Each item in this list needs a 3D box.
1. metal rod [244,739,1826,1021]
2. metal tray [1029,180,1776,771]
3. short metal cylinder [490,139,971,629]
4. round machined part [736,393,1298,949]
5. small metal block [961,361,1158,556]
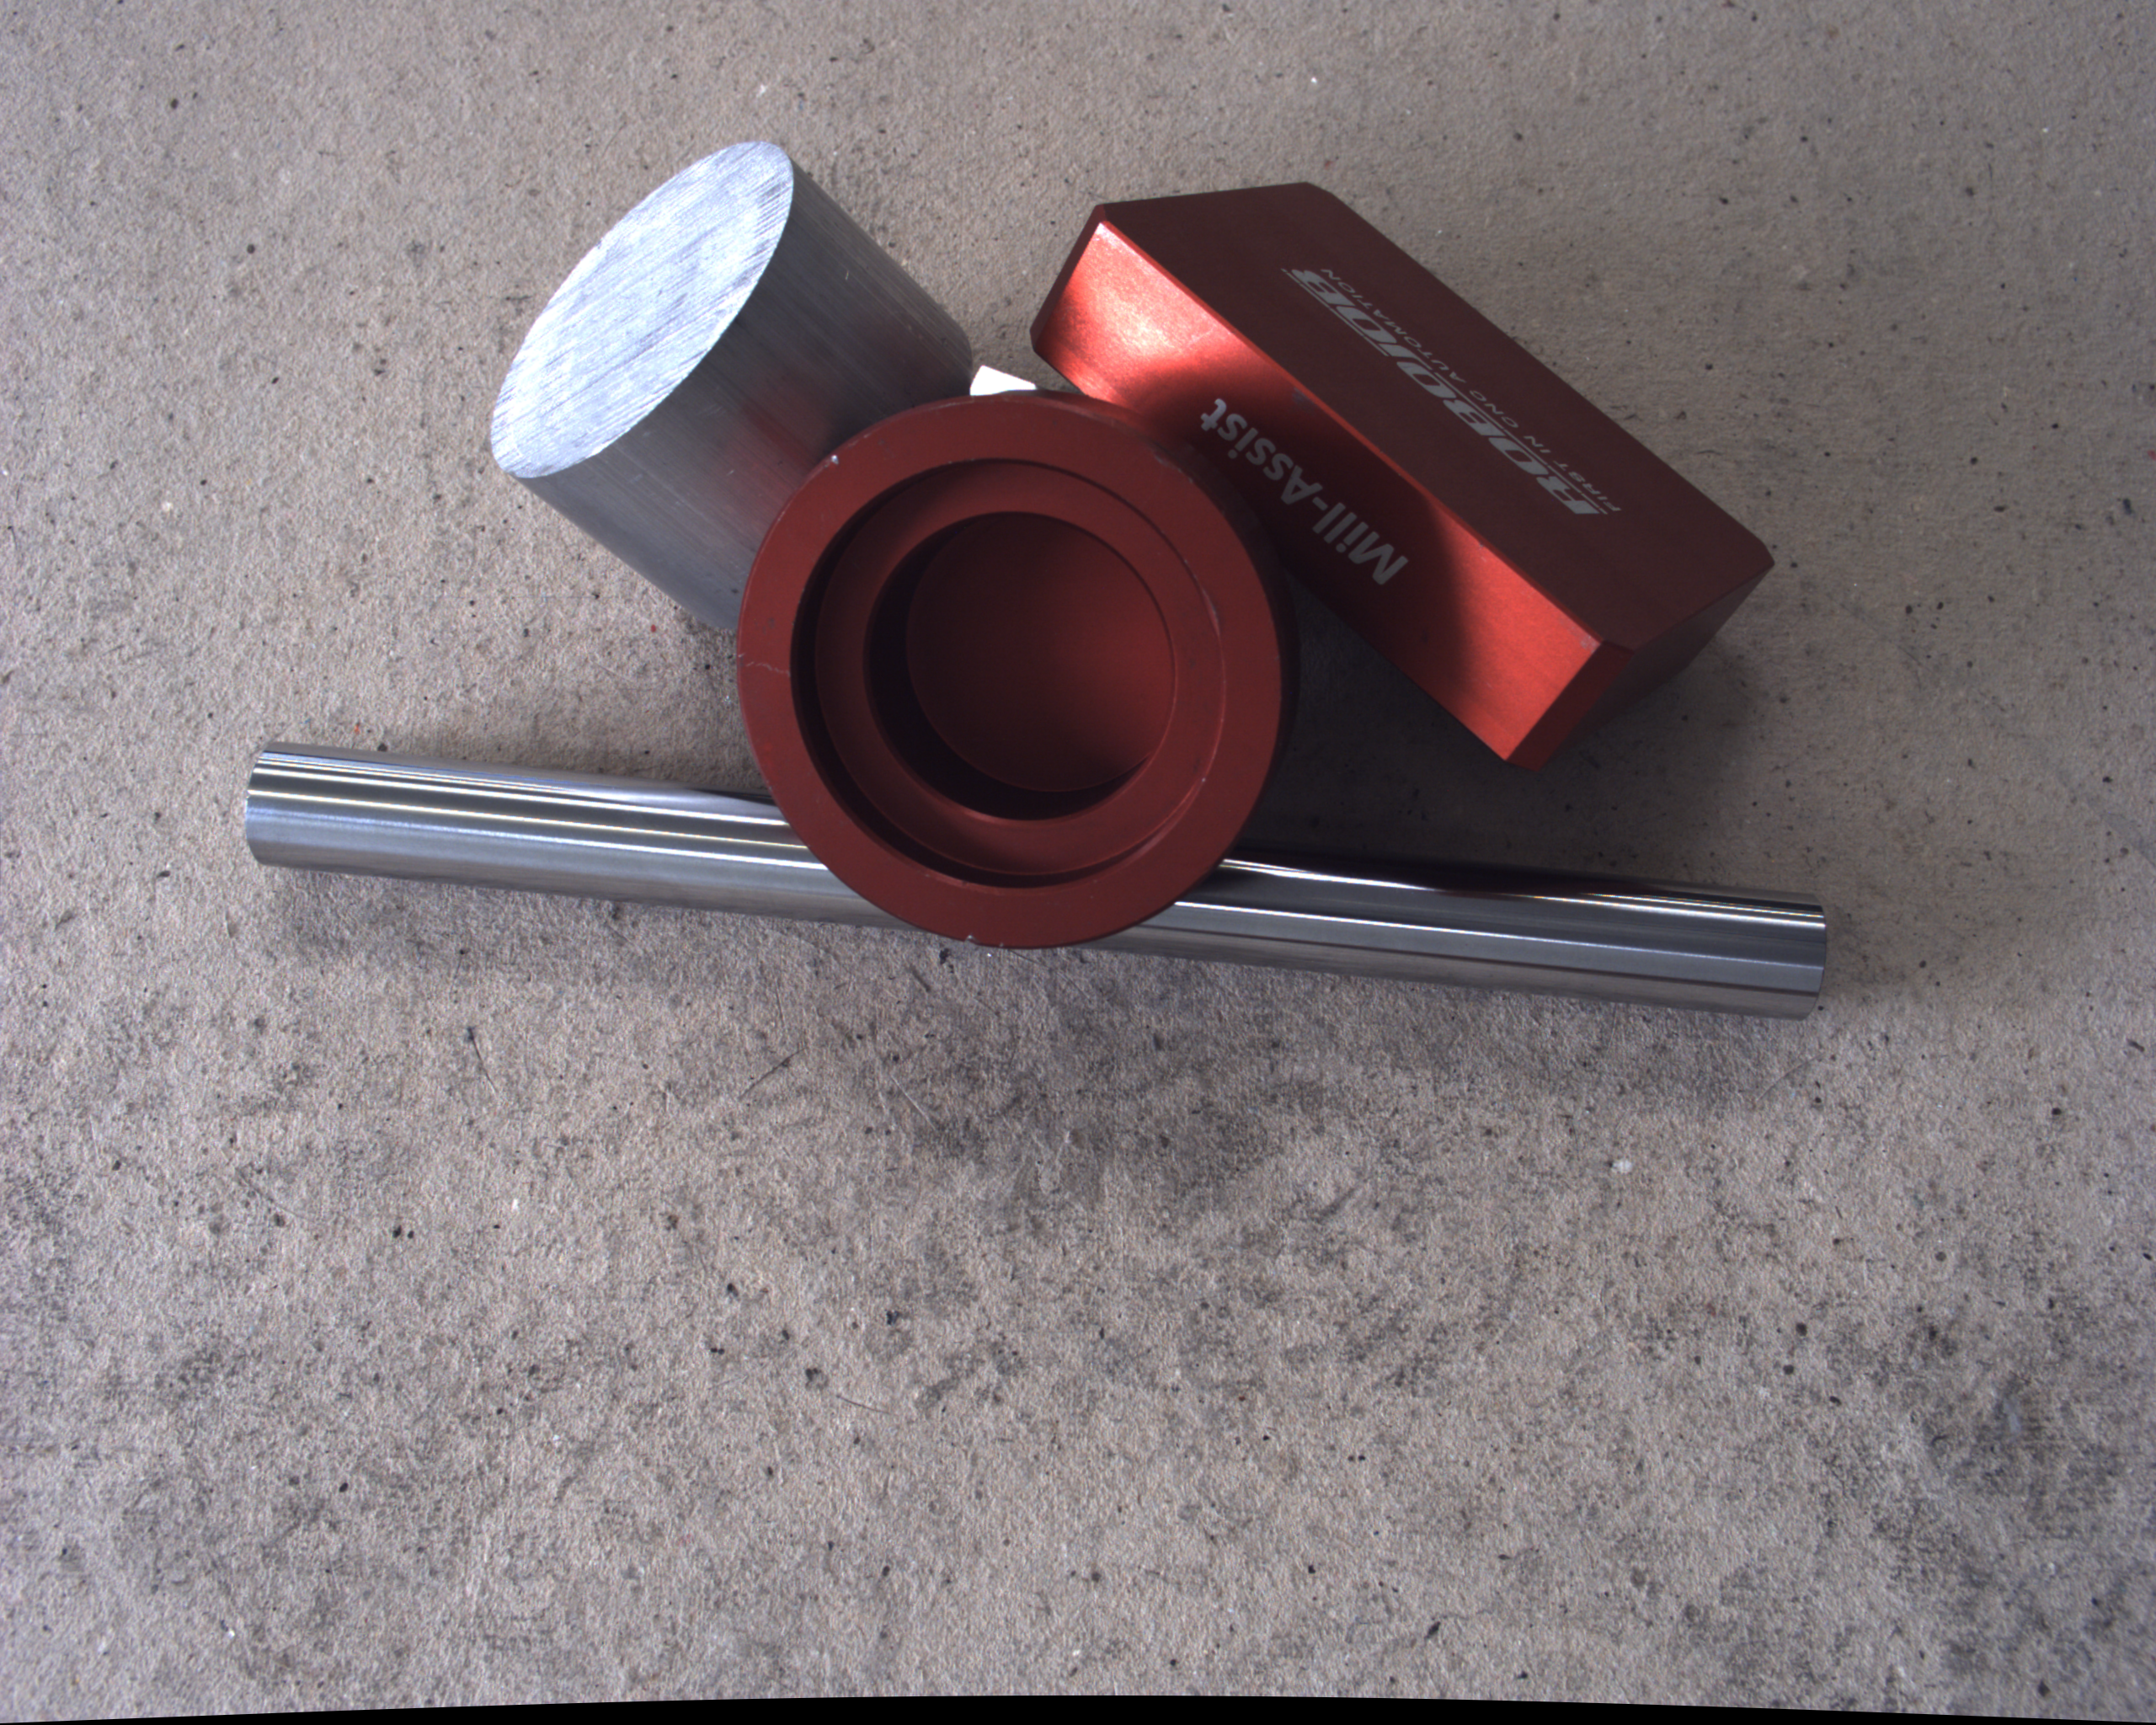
[{"bbox_3d":[-0.009,0.003,0.408,0.302,0.025,0.025,6,70,2],"label":"metal rod"},{"bbox_3d":[0.065,-0.081,0.410,0.130,0.030,0.091,44,37,14],"label":"metal tray"},{"bbox_3d":[-0.068,-0.093,0.409,0.080,0.050,0.080,-25,45,29],"label":"short metal cylinder"},{"bbox_3d":[-0.009,-0.037,0.381,0.098,0.042,0.097,3,105,11],"label":"round machined part"},{"bbox_3d":[-0.001,-0.068,0.419,0.050,0.050,0.025,22,72,8],"label":"small metal block"}]
